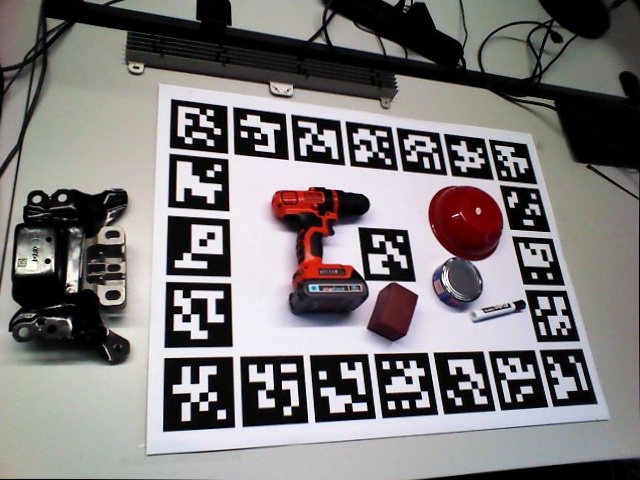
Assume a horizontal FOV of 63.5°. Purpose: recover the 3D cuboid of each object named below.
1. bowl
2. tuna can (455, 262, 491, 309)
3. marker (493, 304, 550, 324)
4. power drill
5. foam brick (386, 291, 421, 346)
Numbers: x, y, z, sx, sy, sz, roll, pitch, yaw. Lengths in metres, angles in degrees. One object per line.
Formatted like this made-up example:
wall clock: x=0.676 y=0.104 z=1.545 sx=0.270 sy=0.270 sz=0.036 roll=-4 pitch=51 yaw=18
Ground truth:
bowl: x=0.323 y=-0.038 z=0.988 sx=0.161 sy=0.055 sz=0.161 roll=7 pitch=60 yaw=-12
tuna can: x=0.285 y=0.079 z=0.926 sx=0.085 sy=0.034 sz=0.085 roll=8 pitch=66 yaw=-18
marker: x=0.369 y=0.134 z=0.938 sx=0.121 sy=0.020 sz=0.019 roll=-7 pitch=72 yaw=-21
power drill: x=0.036 y=0.017 z=0.862 sx=0.184 sy=0.058 sz=0.186 roll=3 pitch=65 yaw=-21
foam brick: x=0.153 y=0.128 z=0.859 sx=0.051 sy=0.053 sz=0.077 roll=26 pitch=64 yaw=-8
